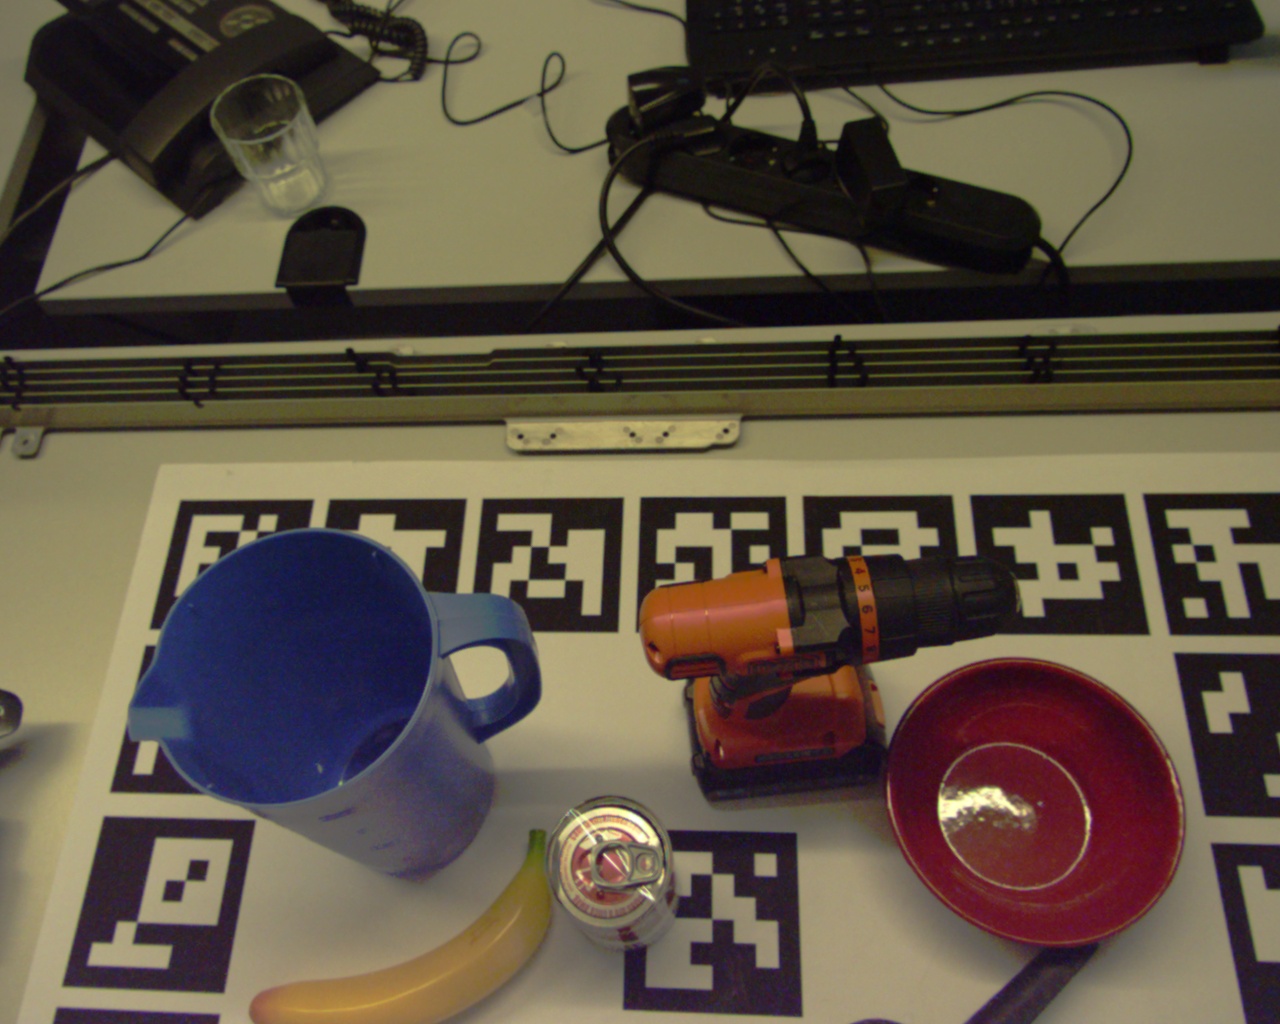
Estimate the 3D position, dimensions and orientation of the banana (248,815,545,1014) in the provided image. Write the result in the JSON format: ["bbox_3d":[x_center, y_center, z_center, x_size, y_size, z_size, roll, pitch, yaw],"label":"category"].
[{"bbox_3d":[-0.137,0.256,0.686,0.197,0.038,0.075,-24,55,-7],"label":"banana"}]

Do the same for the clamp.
[{"bbox_3d":[0.152,0.307,0.619,0.203,0.036,0.166,-4,67,5],"label":"clamp"}]

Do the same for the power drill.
[{"bbox_3d":[0.099,0.076,0.643,0.185,0.186,0.057,-5,63,2],"label":"power drill"}]

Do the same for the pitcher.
[{"bbox_3d":[-0.141,0.109,0.644,0.188,0.241,0.134,-23,61,-6],"label":"pitcher"}]

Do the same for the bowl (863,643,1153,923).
[{"bbox_3d":[0.213,0.163,0.681,0.162,0.055,0.162,-3,65,5],"label":"bowl"}]

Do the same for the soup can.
[{"bbox_3d":[-0.016,0.193,0.667,0.068,0.101,0.068,-3,55,4],"label":"soup can"}]
